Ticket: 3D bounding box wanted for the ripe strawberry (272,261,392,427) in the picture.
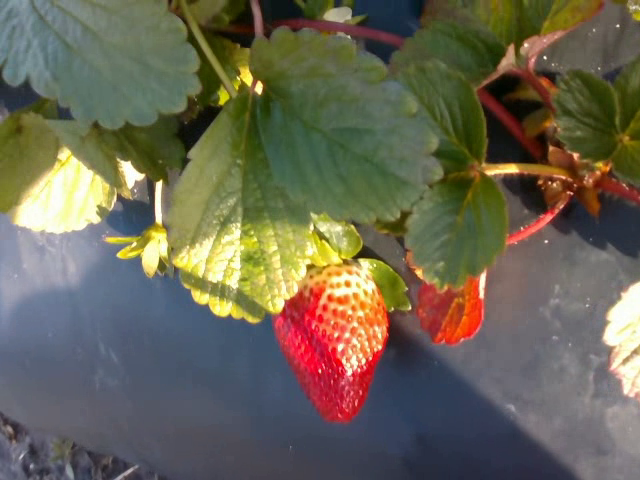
[{"bbox_3d":[0.002,0.033,0.195,0.041,0.056,0.041,6,-21,-31],"label":"ripe strawberry"}]
